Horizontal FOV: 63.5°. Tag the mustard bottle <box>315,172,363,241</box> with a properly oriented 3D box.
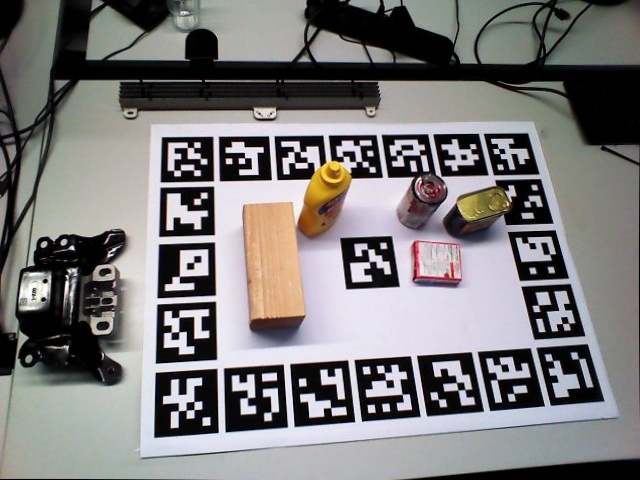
[{"bbox_3d":[0.043,-0.066,0.896,0.096,0.192,0.058,-27,73,-18],"label":"mustard bottle"}]

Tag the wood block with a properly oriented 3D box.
[{"bbox_3d":[-0.050,0.053,0.886,0.091,0.090,0.205,-1,64,-9],"label":"wood block"}]

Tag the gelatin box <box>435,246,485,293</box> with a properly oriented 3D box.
[{"bbox_3d":[0.257,0.054,0.951,0.089,0.030,0.073,6,69,-2],"label":"gelatin box"}]

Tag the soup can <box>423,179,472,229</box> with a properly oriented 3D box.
[{"bbox_3d":[0.231,-0.068,0.953,0.068,0.102,0.067,2,69,-6],"label":"soup can"}]

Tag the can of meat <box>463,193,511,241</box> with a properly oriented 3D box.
[{"bbox_3d":[0.327,-0.044,0.975,0.101,0.084,0.057,-15,71,-15],"label":"can of meat"}]
